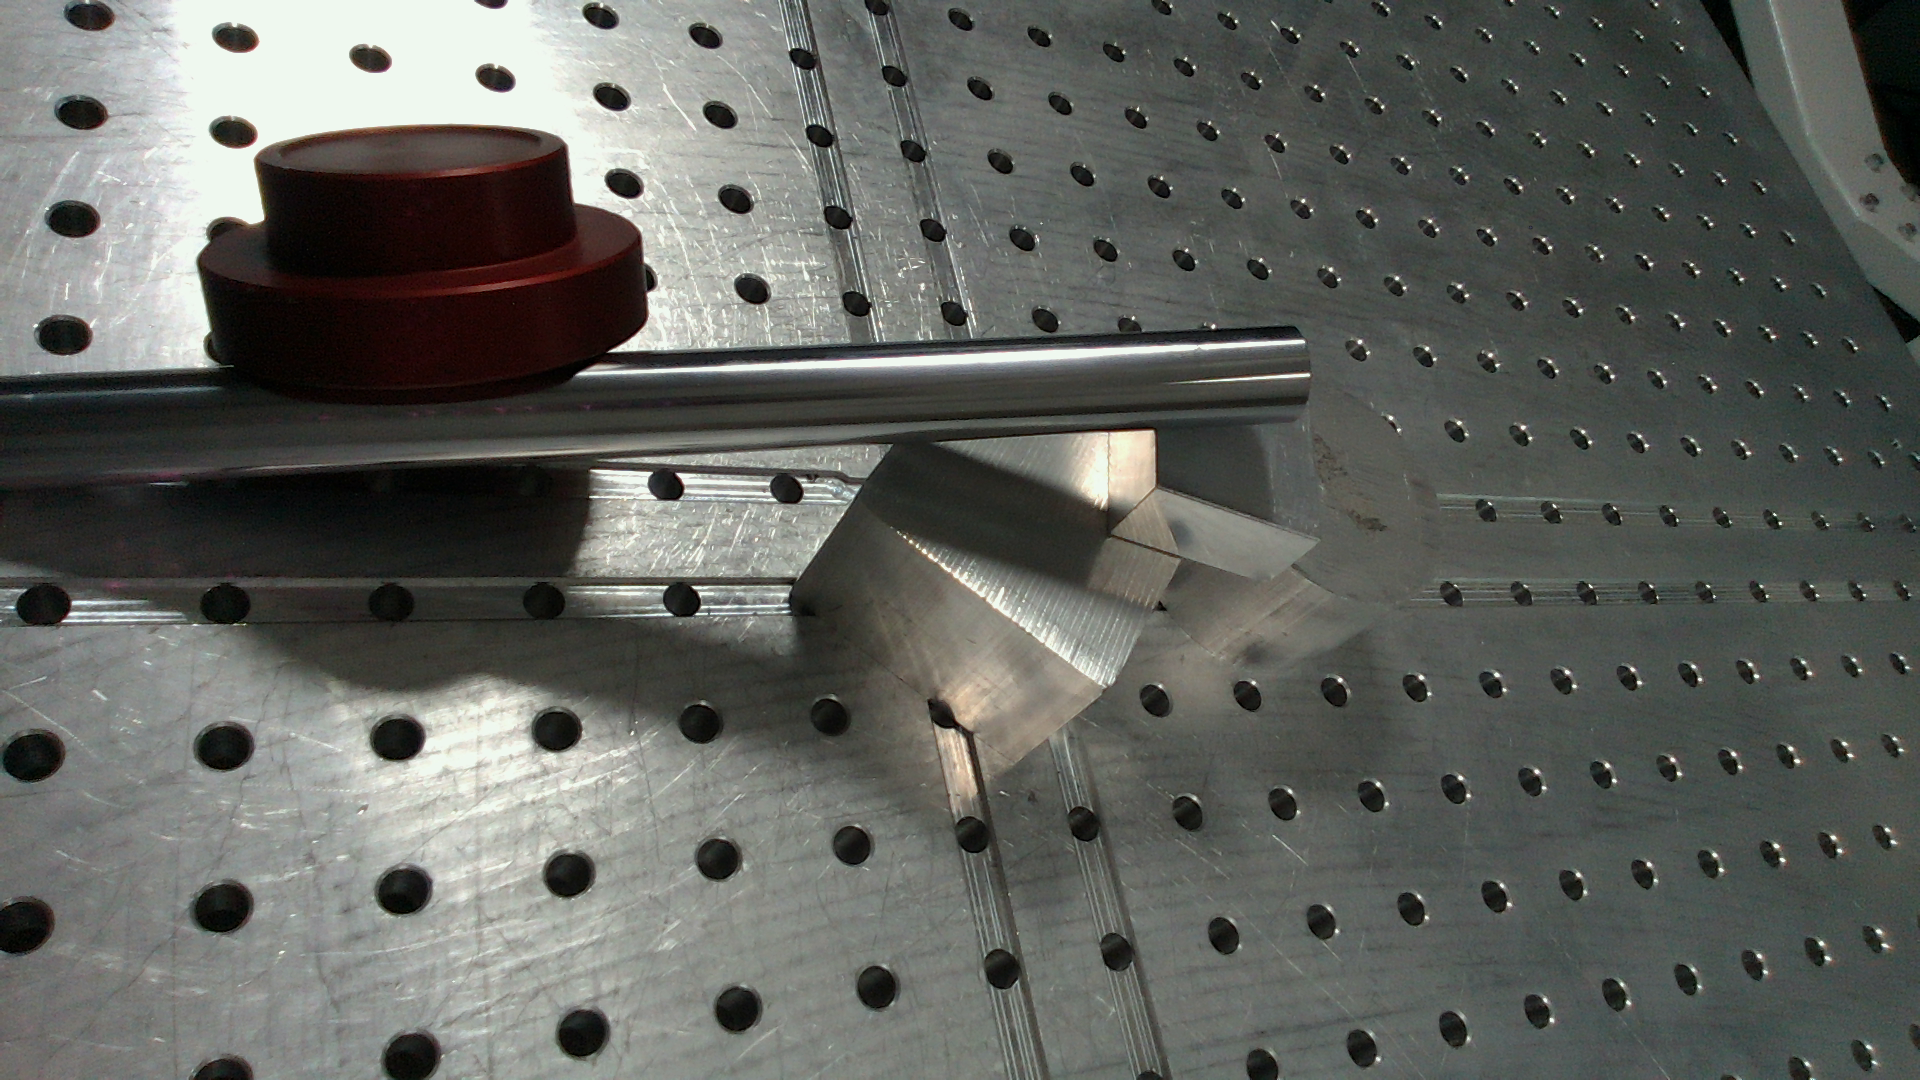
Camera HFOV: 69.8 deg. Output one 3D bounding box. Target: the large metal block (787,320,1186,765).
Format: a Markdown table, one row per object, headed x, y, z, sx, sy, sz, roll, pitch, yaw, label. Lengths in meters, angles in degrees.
| x | y | z | sx | sy | sz | roll | pitch | yaw | label |
| --- | --- | --- | --- | --- | --- | --- | --- | --- | --- |
| 0.013 | 0.000 | 0.381 | 0.080 | 0.050 | 0.080 | 38 | 51 | -3 | large metal block |

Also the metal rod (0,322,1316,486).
| x | y | z | sx | sy | sz | roll | pitch | yaw | label |
| --- | --- | --- | --- | --- | --- | --- | --- | --- | --- |
| -0.062 | -0.034 | 0.324 | 0.300 | 0.025 | 0.025 | -4 | 62 | -11 | metal rod |

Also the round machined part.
| x | y | z | sx | sy | sz | roll | pitch | yaw | label |
| --- | --- | --- | --- | --- | --- | --- | --- | --- | --- |
| -0.125 | -0.072 | 0.324 | 0.098 | 0.042 | 0.098 | 1 | 25 | 0 | round machined part |

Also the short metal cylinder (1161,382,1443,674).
| x | y | z | sx | sy | sz | roll | pitch | yaw | label |
| --- | --- | --- | --- | --- | --- | --- | --- | --- | --- |
| 0.103 | -0.005 | 0.435 | 0.080 | 0.050 | 0.080 | 14 | 56 | -21 | short metal cylinder |

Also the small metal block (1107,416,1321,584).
| x | y | z | sx | sy | sz | roll | pitch | yaw | label |
| --- | --- | --- | --- | --- | --- | --- | --- | --- | --- |
| 0.069 | -0.022 | 0.376 | 0.050 | 0.025 | 0.050 | 17 | 55 | -18 | small metal block |
